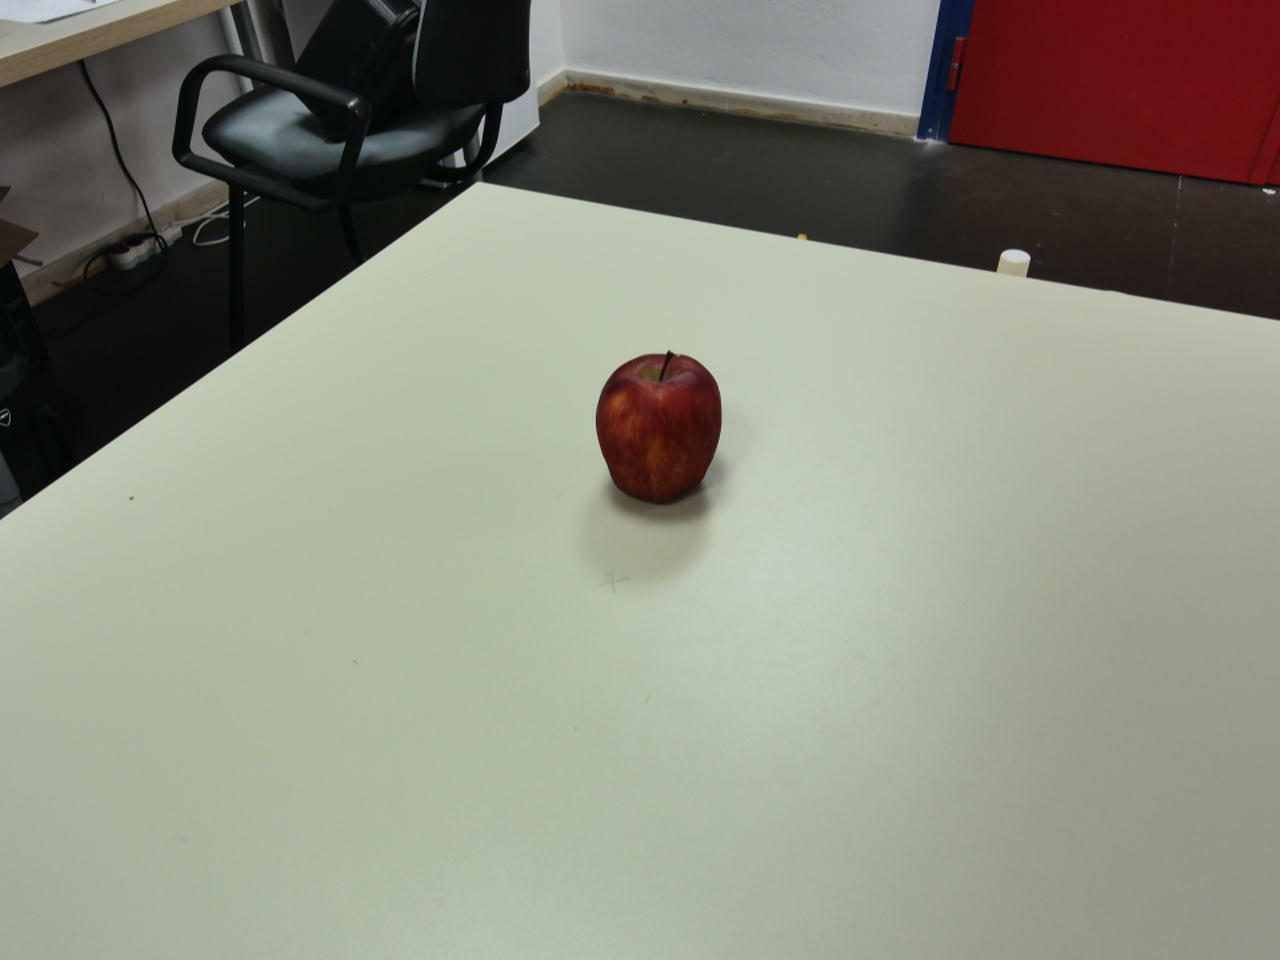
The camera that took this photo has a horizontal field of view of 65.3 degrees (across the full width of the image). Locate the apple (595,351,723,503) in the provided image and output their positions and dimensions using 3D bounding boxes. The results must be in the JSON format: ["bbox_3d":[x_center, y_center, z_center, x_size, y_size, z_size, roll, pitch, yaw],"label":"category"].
[{"bbox_3d":[0.012,-0.037,0.590,0.083,0.090,0.083,-1,38,1],"label":"apple"}]
